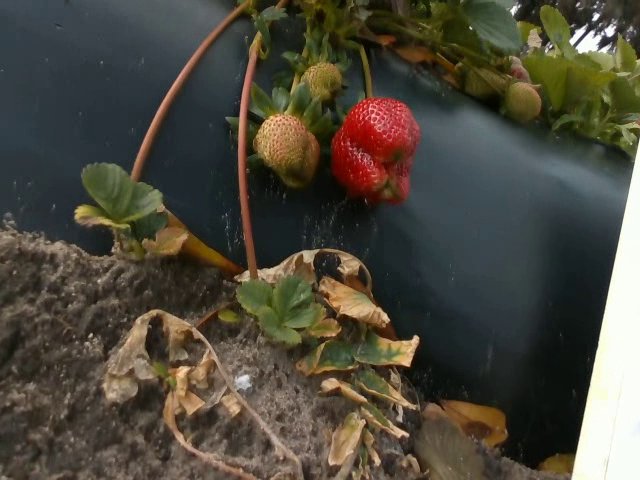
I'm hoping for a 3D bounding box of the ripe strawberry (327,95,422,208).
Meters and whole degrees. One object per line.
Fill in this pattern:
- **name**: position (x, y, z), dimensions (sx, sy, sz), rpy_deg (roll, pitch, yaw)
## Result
- **ripe strawberry**: position (0.037, -0.055, 0.327), dimensions (0.066, 0.075, 0.052), rpy_deg (9, -15, -21)
